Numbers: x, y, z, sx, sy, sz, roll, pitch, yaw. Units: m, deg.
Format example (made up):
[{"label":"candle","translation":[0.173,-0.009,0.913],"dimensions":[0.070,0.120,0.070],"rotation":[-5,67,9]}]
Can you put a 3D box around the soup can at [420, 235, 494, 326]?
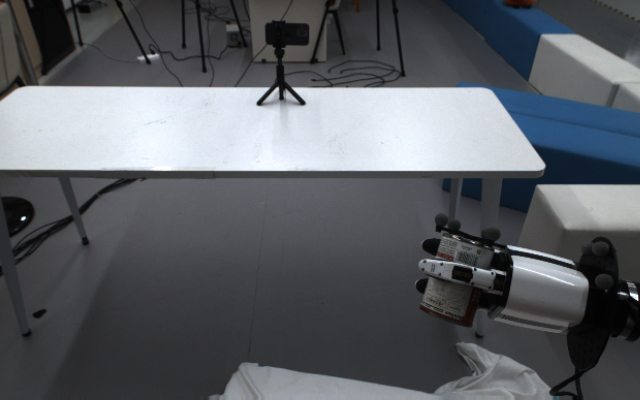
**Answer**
[{"label":"soup can","translation":[0.175,0.099,0.611],"dimensions":[0.067,0.101,0.067],"rotation":[17,-1,0]}]
